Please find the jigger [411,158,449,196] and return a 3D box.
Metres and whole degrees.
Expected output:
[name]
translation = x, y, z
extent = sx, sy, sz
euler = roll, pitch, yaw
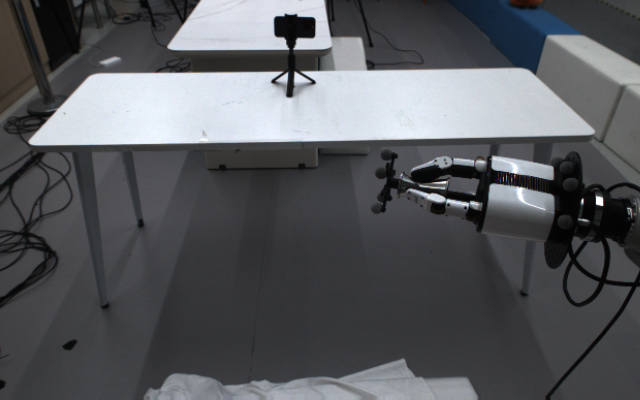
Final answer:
[jigger]
translation = 0.155, -0.020, 0.698
extent = 0.071, 0.043, 0.043
euler = 11, 36, 16
